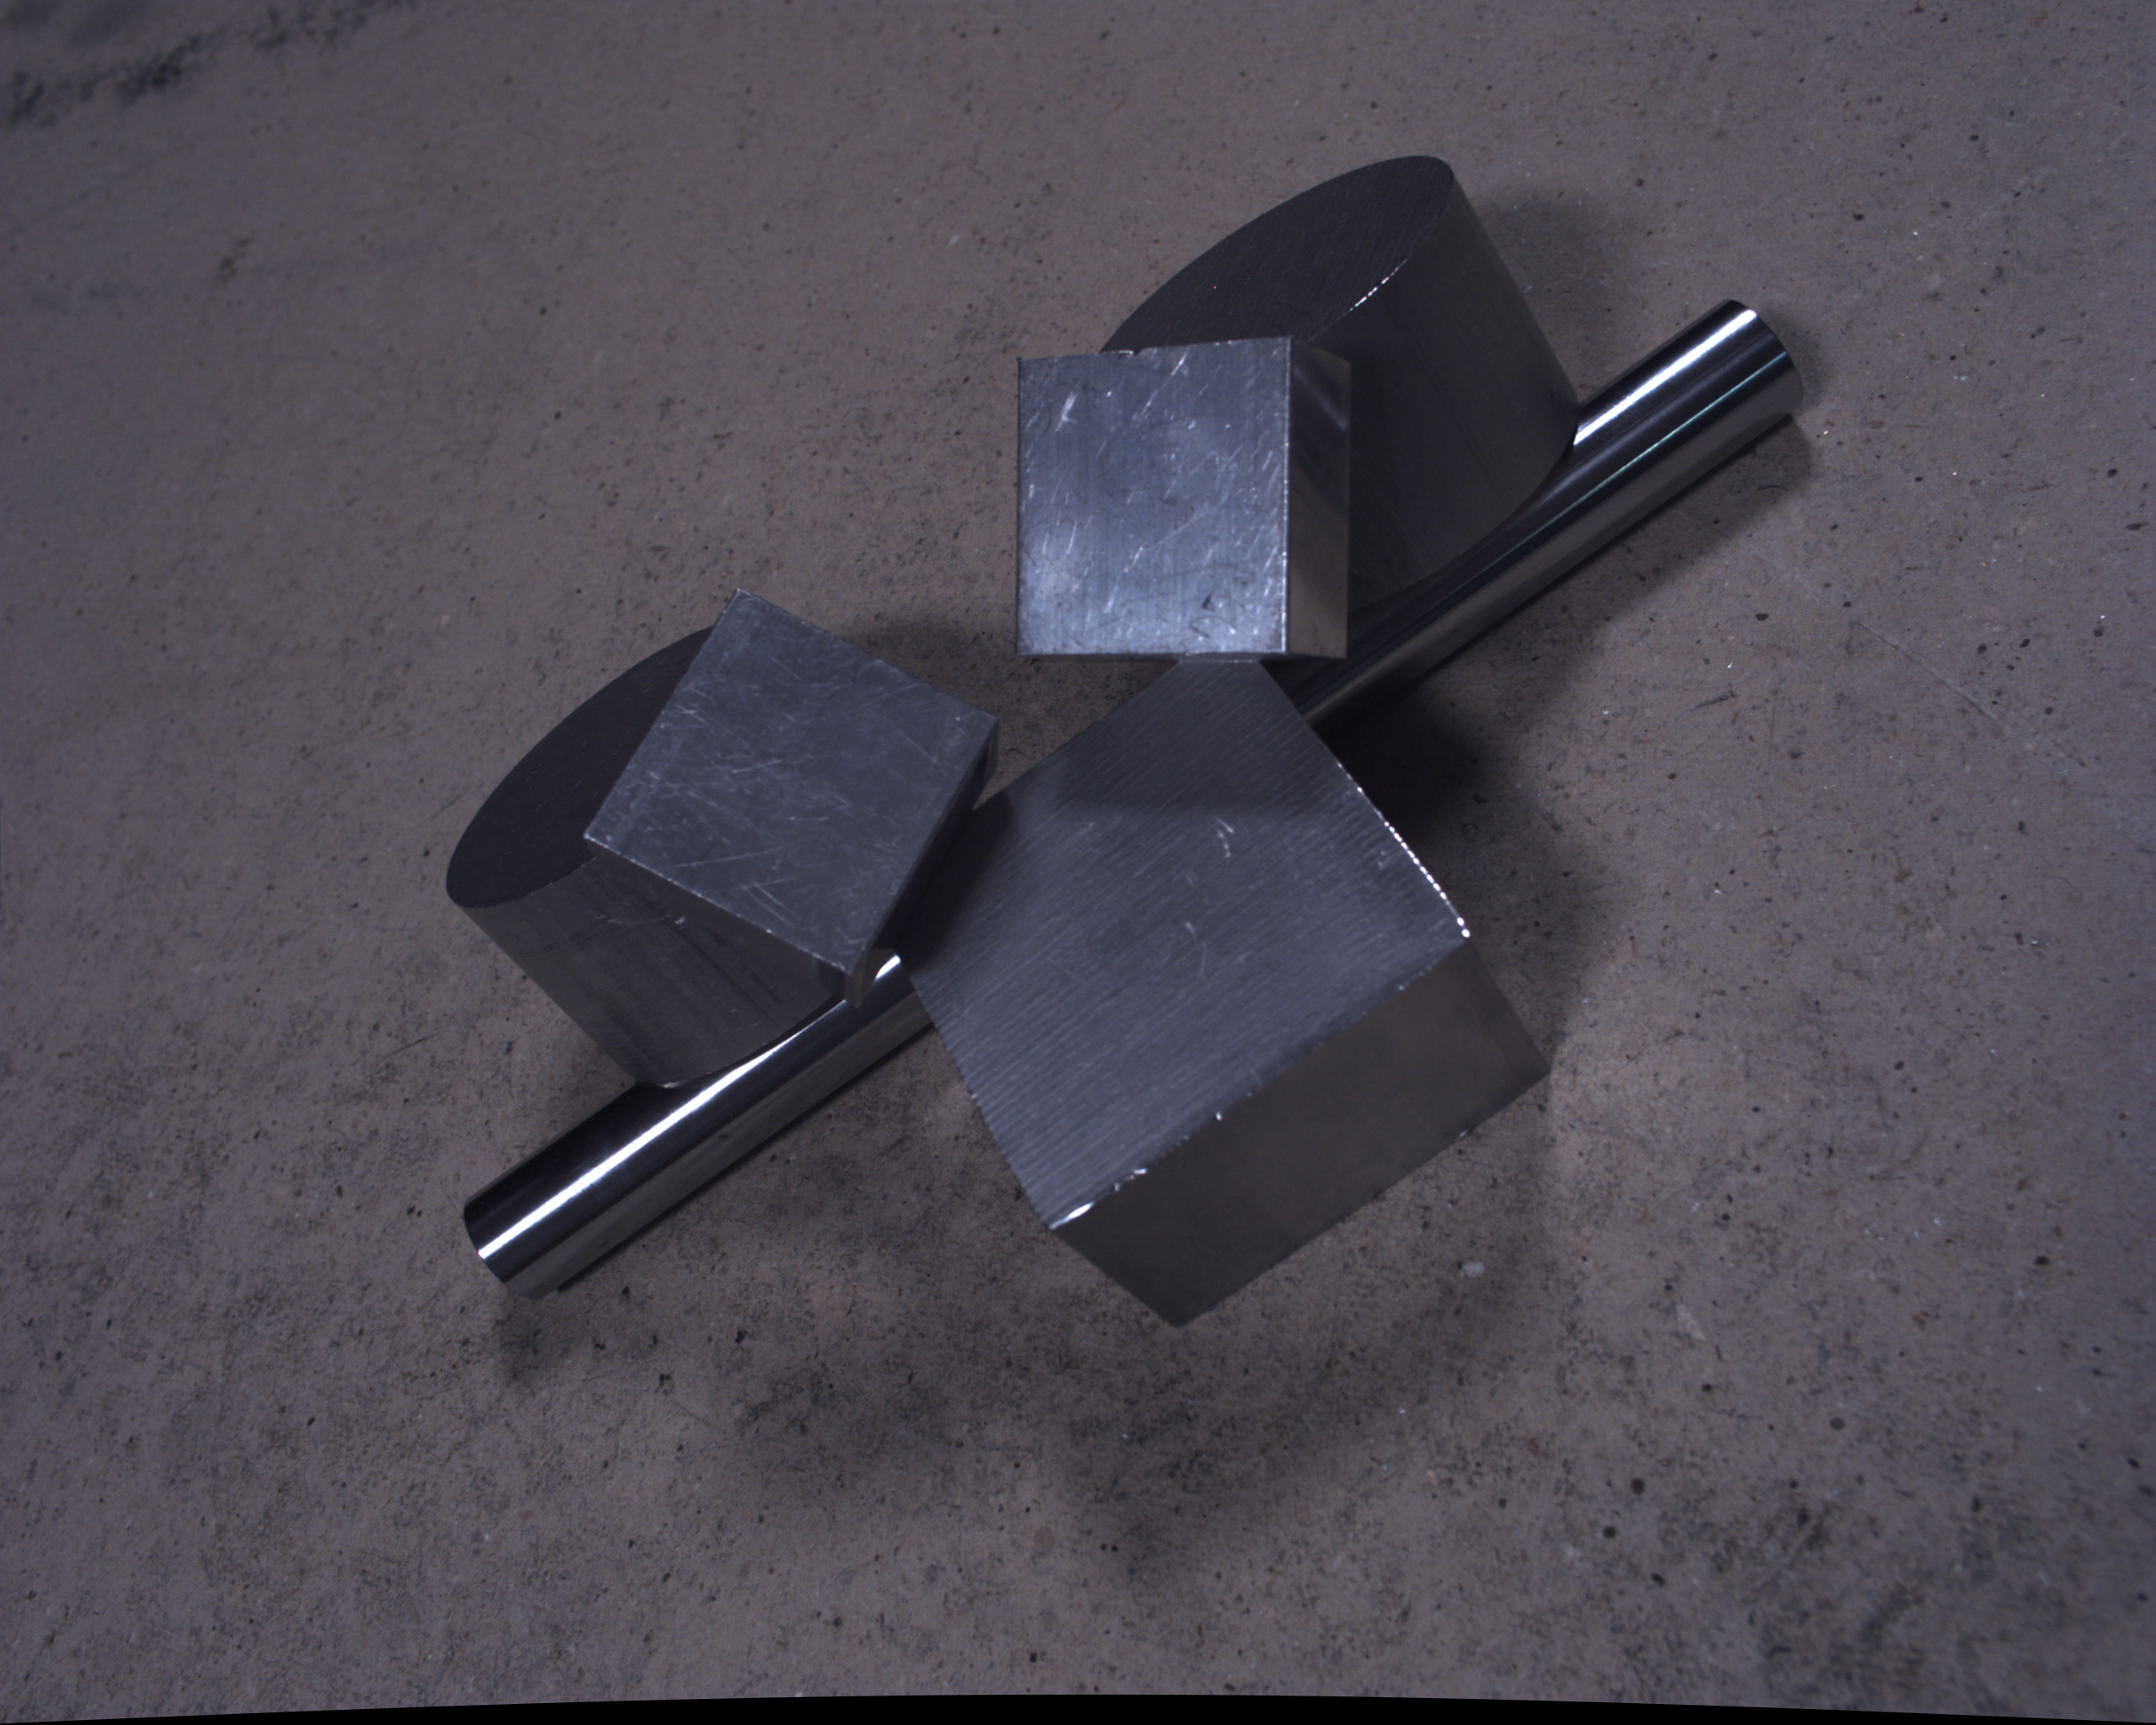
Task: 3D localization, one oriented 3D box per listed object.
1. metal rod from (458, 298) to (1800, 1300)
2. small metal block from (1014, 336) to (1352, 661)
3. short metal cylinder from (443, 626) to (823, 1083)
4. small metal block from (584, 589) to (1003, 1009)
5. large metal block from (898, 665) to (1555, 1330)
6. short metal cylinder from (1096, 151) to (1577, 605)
[{"bbox_3d":[0.007,-0.010,0.406,0.300,0.025,0.025,-35,52,4],"label":"metal rod"},{"bbox_3d":[0.018,-0.059,0.351,0.050,0.025,0.050,2,93,29],"label":"small metal block"},{"bbox_3d":[-0.076,-0.003,0.412,0.080,0.050,0.080,-28,29,18],"label":"short metal cylinder"},{"bbox_3d":[-0.047,-0.010,0.355,0.050,0.025,0.050,27,74,4],"label":"small metal block"},{"bbox_3d":[0.021,0.020,0.363,0.080,0.050,0.080,-36,51,4],"label":"large metal block"},{"bbox_3d":[0.047,-0.091,0.400,0.080,0.050,0.080,-28,29,18],"label":"short metal cylinder"}]
